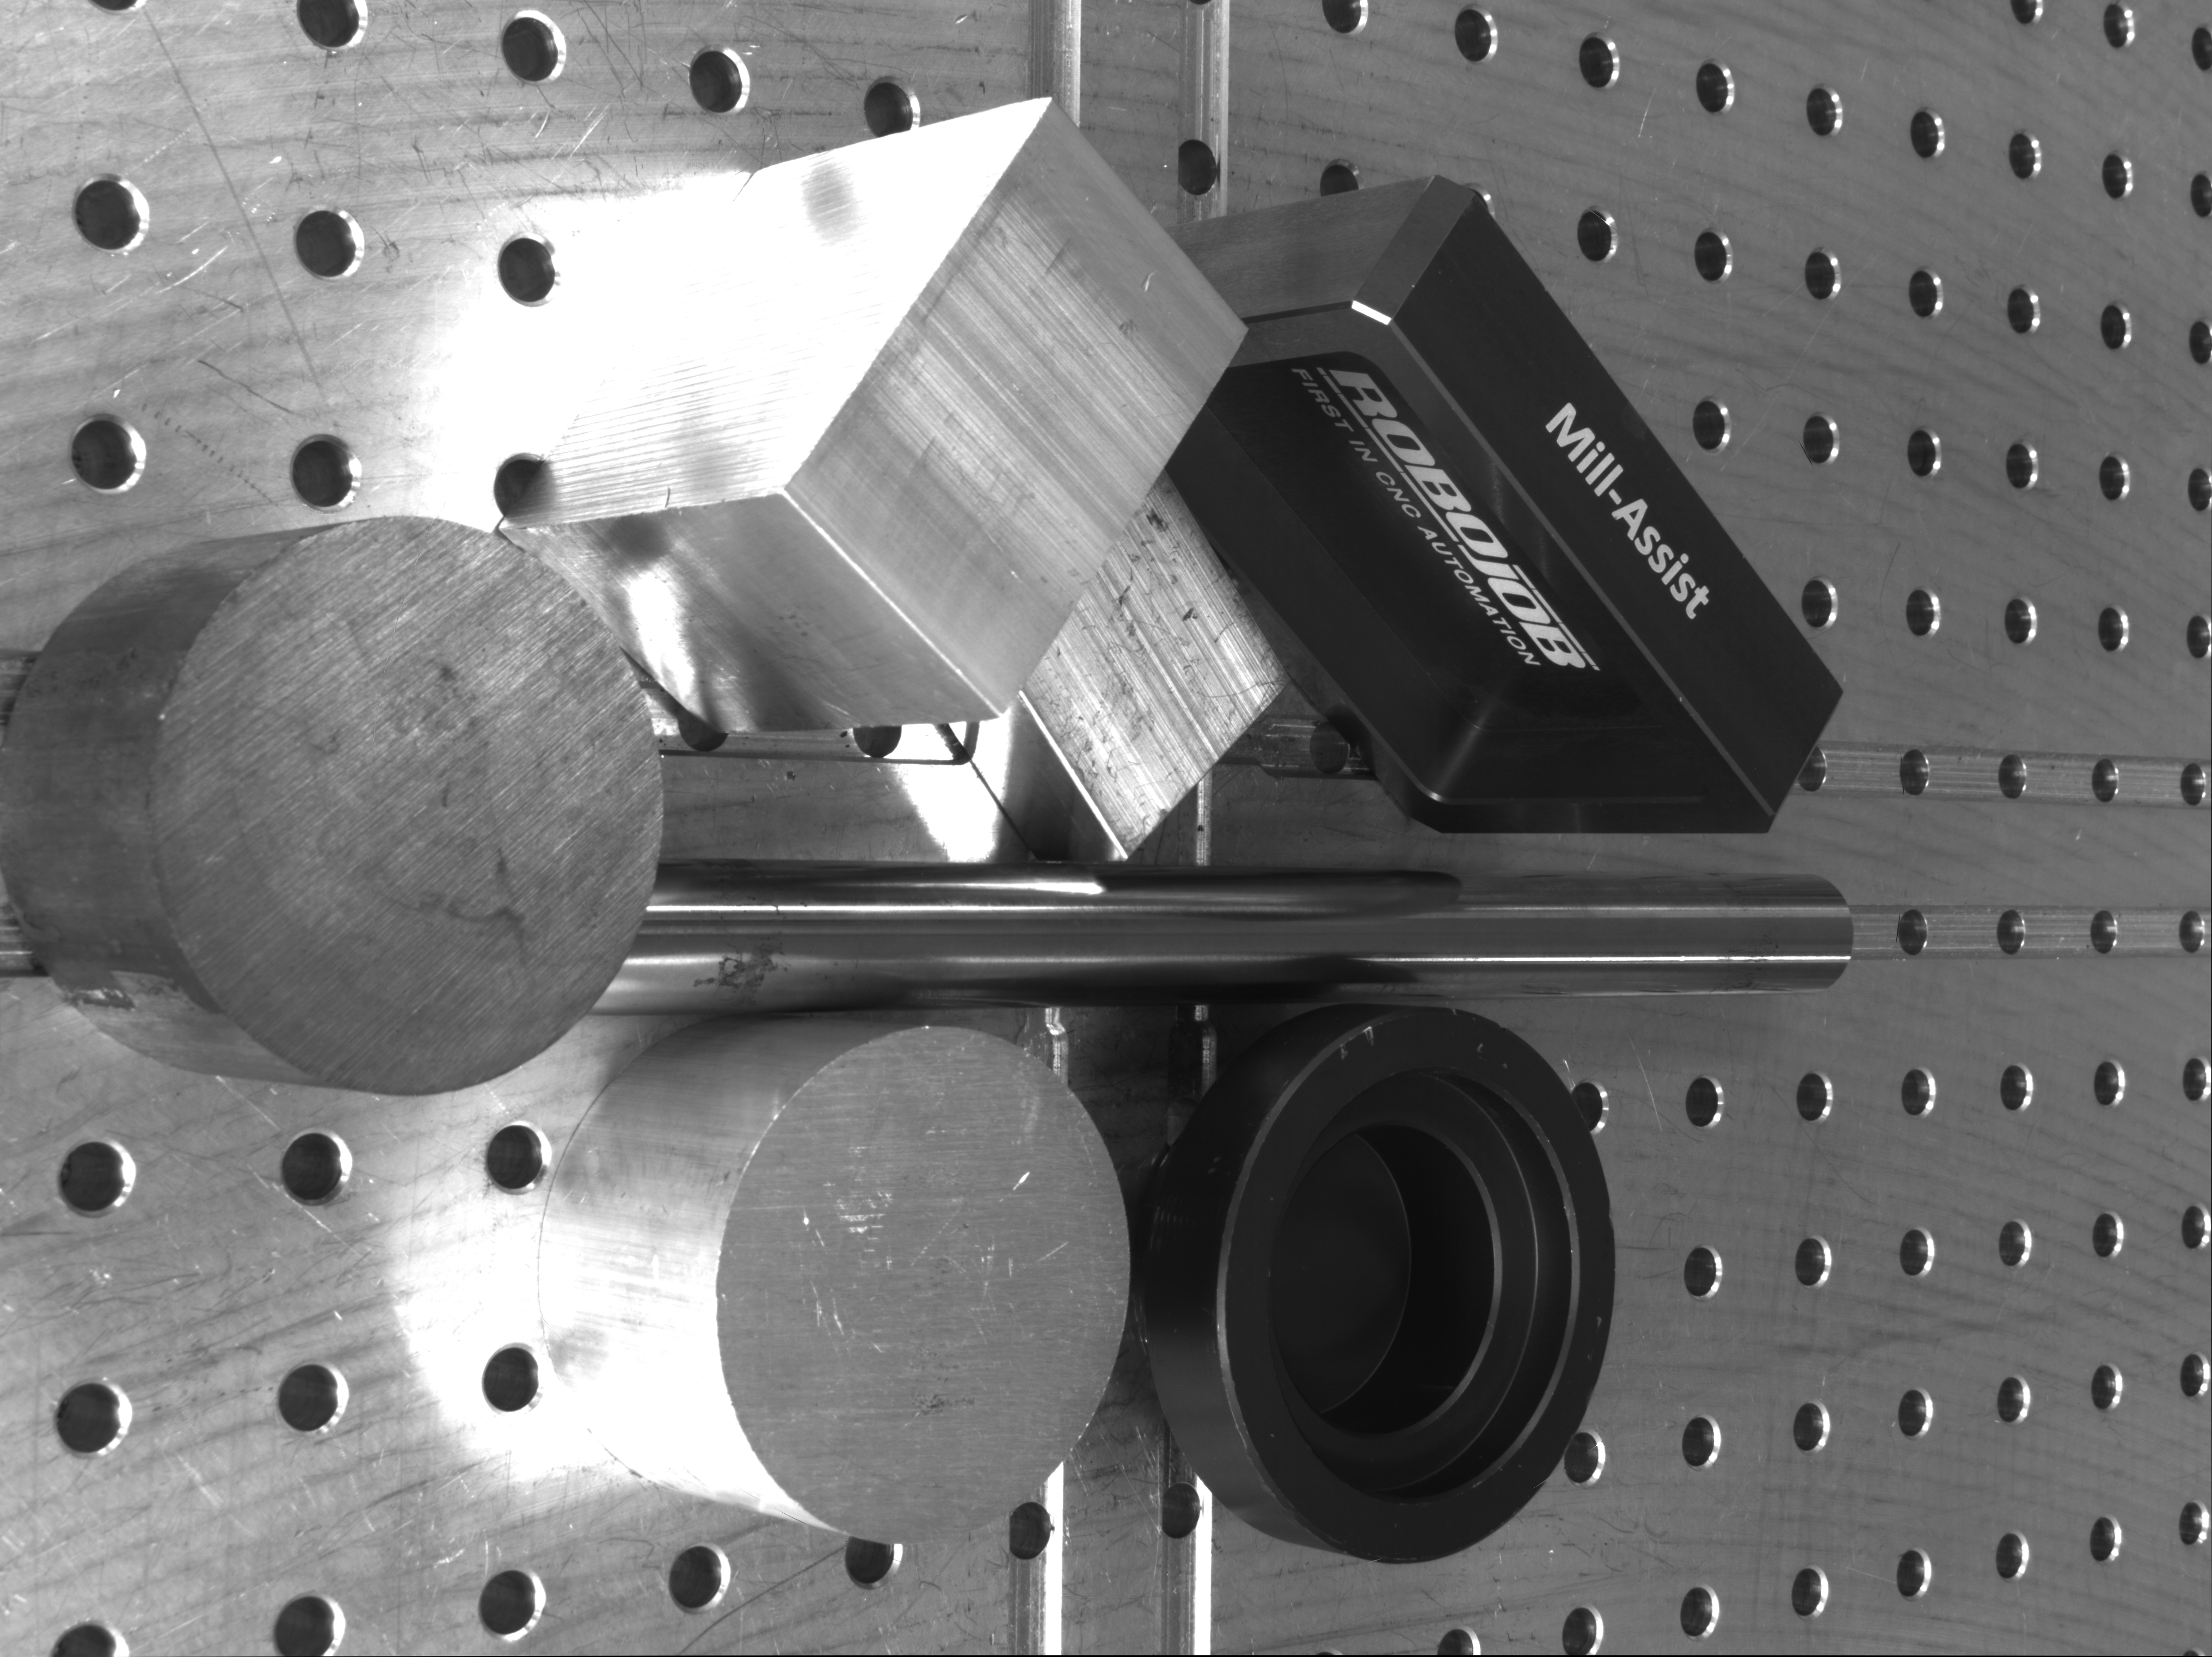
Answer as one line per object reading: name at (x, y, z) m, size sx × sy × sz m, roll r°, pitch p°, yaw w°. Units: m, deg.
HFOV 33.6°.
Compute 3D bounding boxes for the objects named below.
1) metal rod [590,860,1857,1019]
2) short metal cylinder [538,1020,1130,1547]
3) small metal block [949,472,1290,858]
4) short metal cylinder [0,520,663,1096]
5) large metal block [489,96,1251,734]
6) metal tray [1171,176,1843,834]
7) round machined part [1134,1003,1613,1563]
metal rod at (0.030, 0.019, 0.663) m, size 0.301 × 0.025 × 0.025 m, roll 1°, pitch 89°, yaw -40°
short metal cylinder at (-0.043, 0.071, 0.586) m, size 0.080 × 0.050 × 0.080 m, roll 0°, pitch 90°, yaw -40°
small metal block at (-0.002, -0.030, 0.637) m, size 0.050 × 0.025 × 0.050 m, roll -46°, pitch 117°, yaw -30°
short metal cylinder at (-0.112, -0.003, 0.529) m, size 0.080 × 0.050 × 0.080 m, roll 0°, pitch 90°, yaw -40°
large metal block at (-0.037, -0.062, 0.573) m, size 0.050 × 0.080 × 0.080 m, roll 46°, pitch 62°, yaw -30°
metal tray at (0.059, -0.052, 0.645) m, size 0.130 × 0.090 × 0.030 m, roll 48°, pitch 62°, yaw -29°
round machined part at (0.043, 0.080, 0.664) m, size 0.098 × 0.042 × 0.098 m, roll 0°, pitch 90°, yaw -40°
